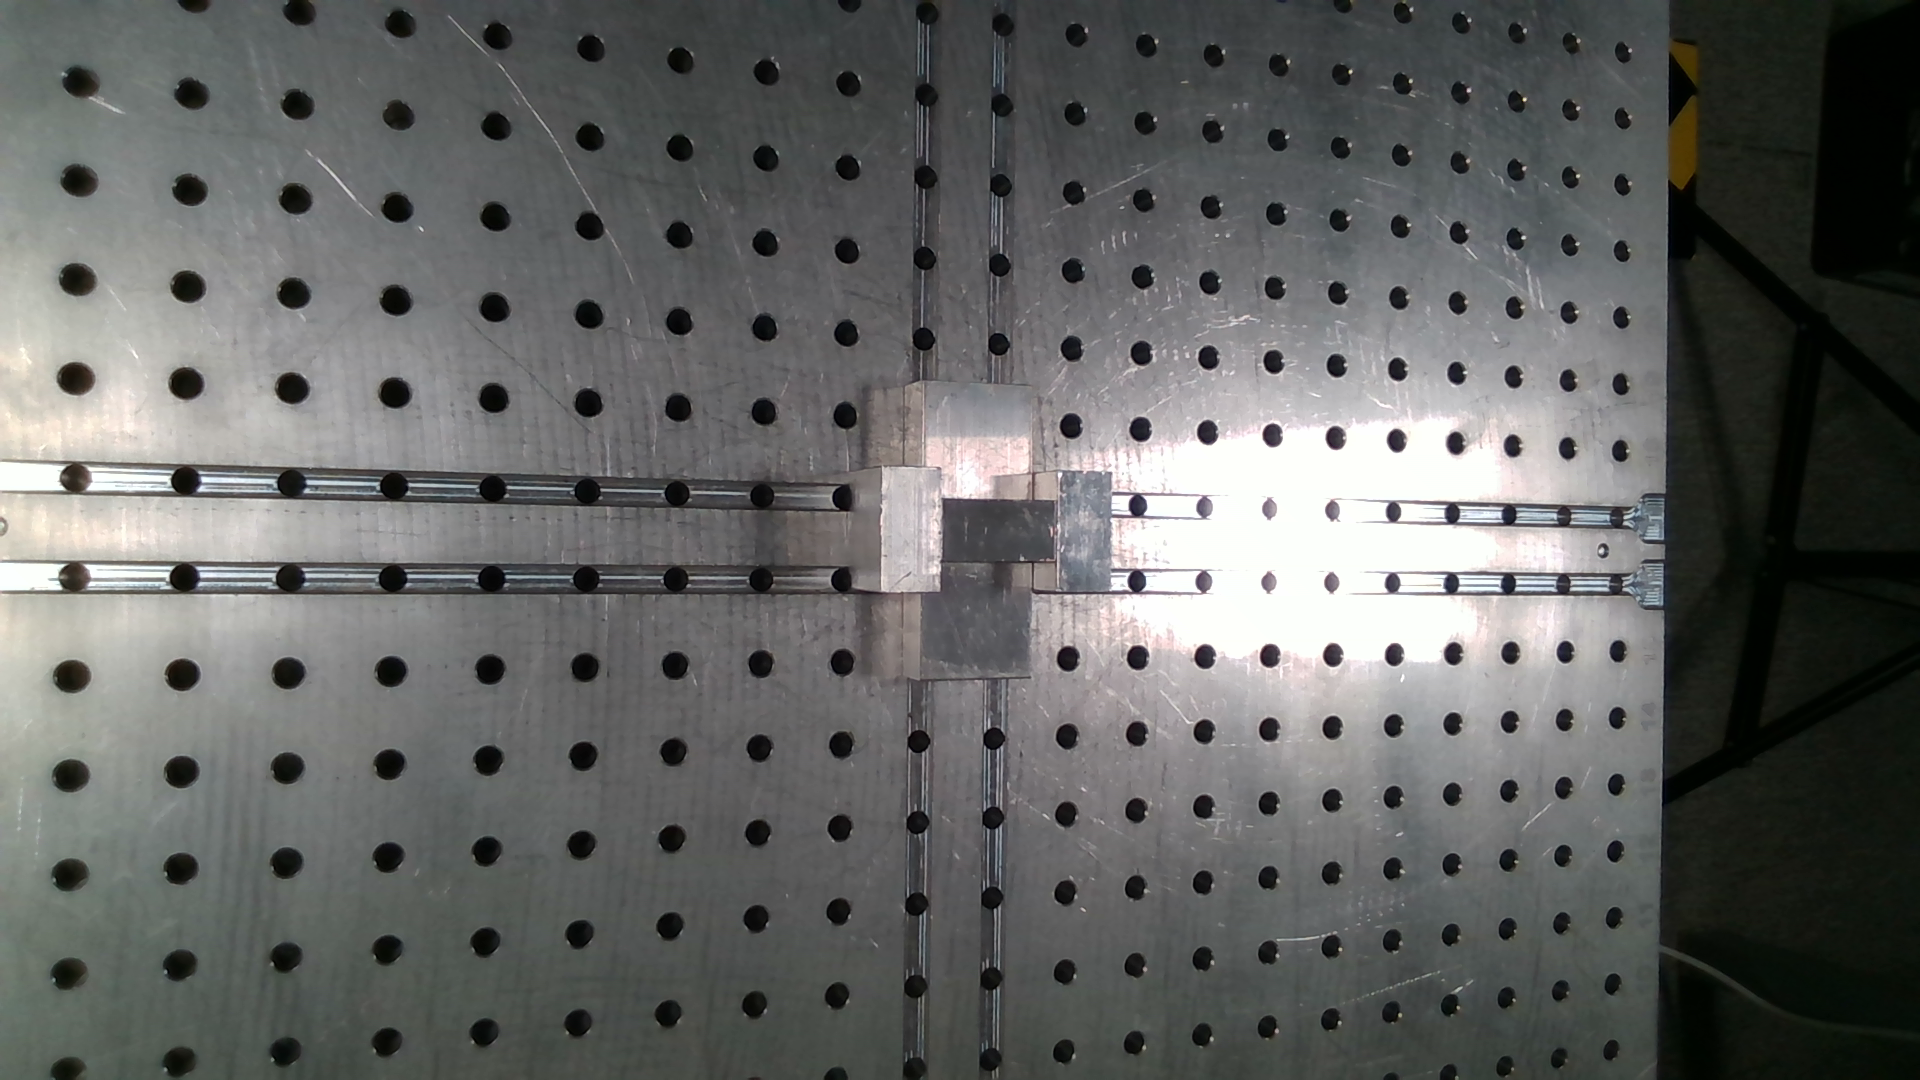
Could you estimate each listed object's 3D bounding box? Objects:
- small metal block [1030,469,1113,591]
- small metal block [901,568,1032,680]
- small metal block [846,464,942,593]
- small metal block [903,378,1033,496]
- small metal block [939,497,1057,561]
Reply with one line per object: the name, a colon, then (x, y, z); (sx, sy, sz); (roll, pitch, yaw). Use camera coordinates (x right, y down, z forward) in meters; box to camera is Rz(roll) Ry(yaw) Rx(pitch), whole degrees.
small metal block: (0.043, -0.004, 0.591); (0.025, 0.050, 0.050); (1, 90, -20)
small metal block: (0.003, 0.034, 0.589); (0.050, 0.025, 0.050); (1, 90, -20)
small metal block: (-0.028, -0.004, 0.564); (0.025, 0.050, 0.050); (1, 90, -20)
small metal block: (0.003, -0.042, 0.589); (0.050, 0.025, 0.050); (0, 90, -20)
small metal block: (0.008, -0.004, 0.577); (0.050, 0.050, 0.025); (1, 90, -20)
